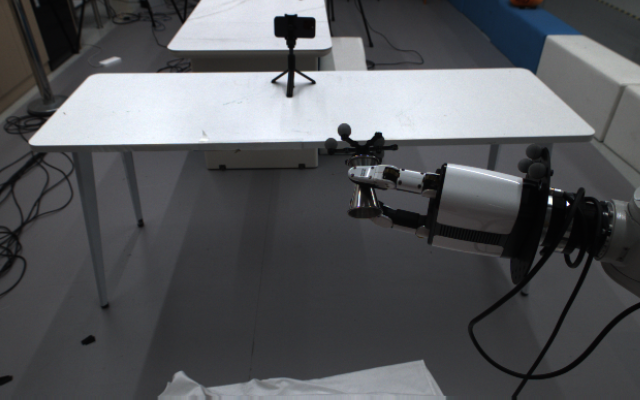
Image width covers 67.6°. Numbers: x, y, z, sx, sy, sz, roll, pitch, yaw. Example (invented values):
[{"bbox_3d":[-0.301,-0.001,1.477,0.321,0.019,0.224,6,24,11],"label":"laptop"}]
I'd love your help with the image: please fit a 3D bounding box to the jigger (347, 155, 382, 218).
[{"bbox_3d":[0.054,-0.017,0.592,0.043,0.043,0.071,1,70,-2],"label":"jigger"}]
